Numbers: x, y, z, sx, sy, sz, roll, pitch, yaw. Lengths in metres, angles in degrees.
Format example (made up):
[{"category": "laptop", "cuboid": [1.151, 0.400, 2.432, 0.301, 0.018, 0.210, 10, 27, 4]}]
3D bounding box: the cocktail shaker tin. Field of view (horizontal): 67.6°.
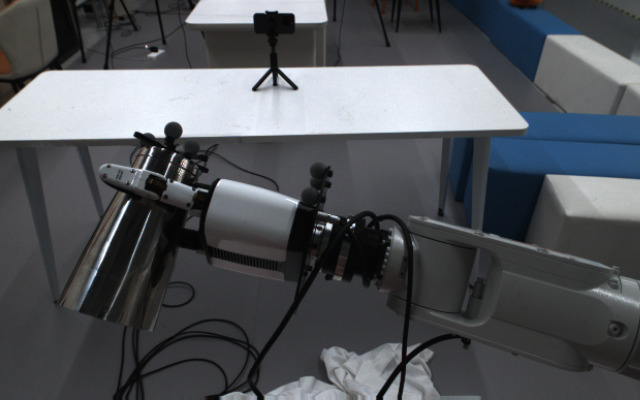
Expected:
[{"category": "cocktail shaker tin", "cuboid": [-0.183, 0.034, 0.491, 0.093, 0.093, 0.170, 13, 72, 15]}]
